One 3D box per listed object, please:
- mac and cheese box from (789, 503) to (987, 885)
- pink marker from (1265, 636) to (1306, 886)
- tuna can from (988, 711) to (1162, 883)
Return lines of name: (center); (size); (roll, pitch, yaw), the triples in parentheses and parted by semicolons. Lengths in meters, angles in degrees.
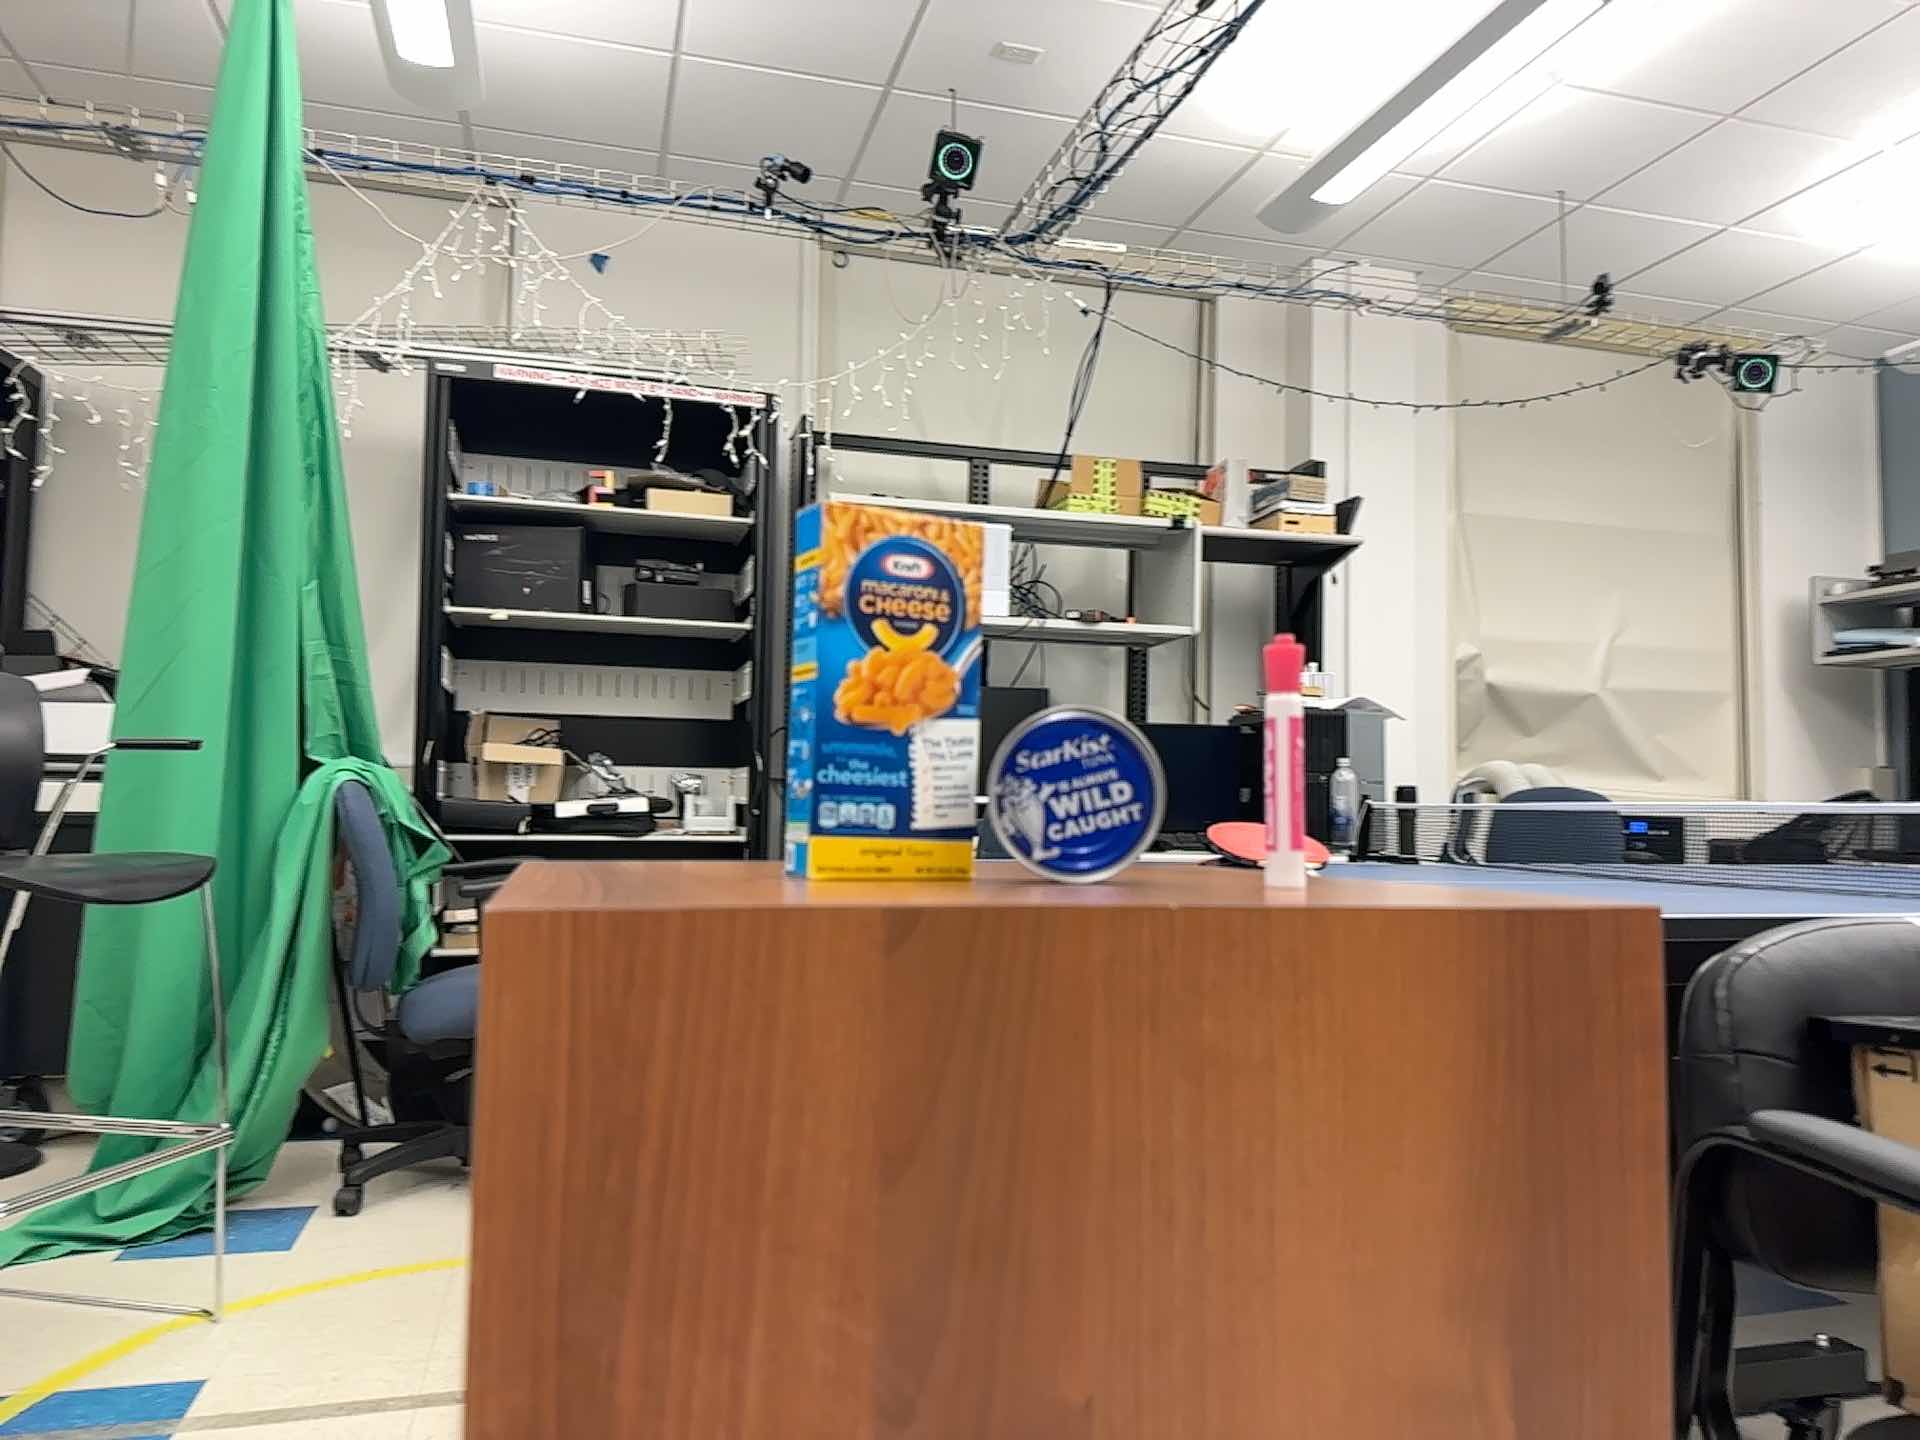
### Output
mac and cheese box: (-0.036, -0.012, 0.675); (0.088, 0.181, 0.035); (1, -2, -24)
pink marker: (0.158, 0.019, 0.655); (0.020, 0.121, 0.020); (0, -2, 0)
tuna can: (0.056, 0.038, 0.671); (0.083, 0.083, 0.034); (1, -3, 2)
